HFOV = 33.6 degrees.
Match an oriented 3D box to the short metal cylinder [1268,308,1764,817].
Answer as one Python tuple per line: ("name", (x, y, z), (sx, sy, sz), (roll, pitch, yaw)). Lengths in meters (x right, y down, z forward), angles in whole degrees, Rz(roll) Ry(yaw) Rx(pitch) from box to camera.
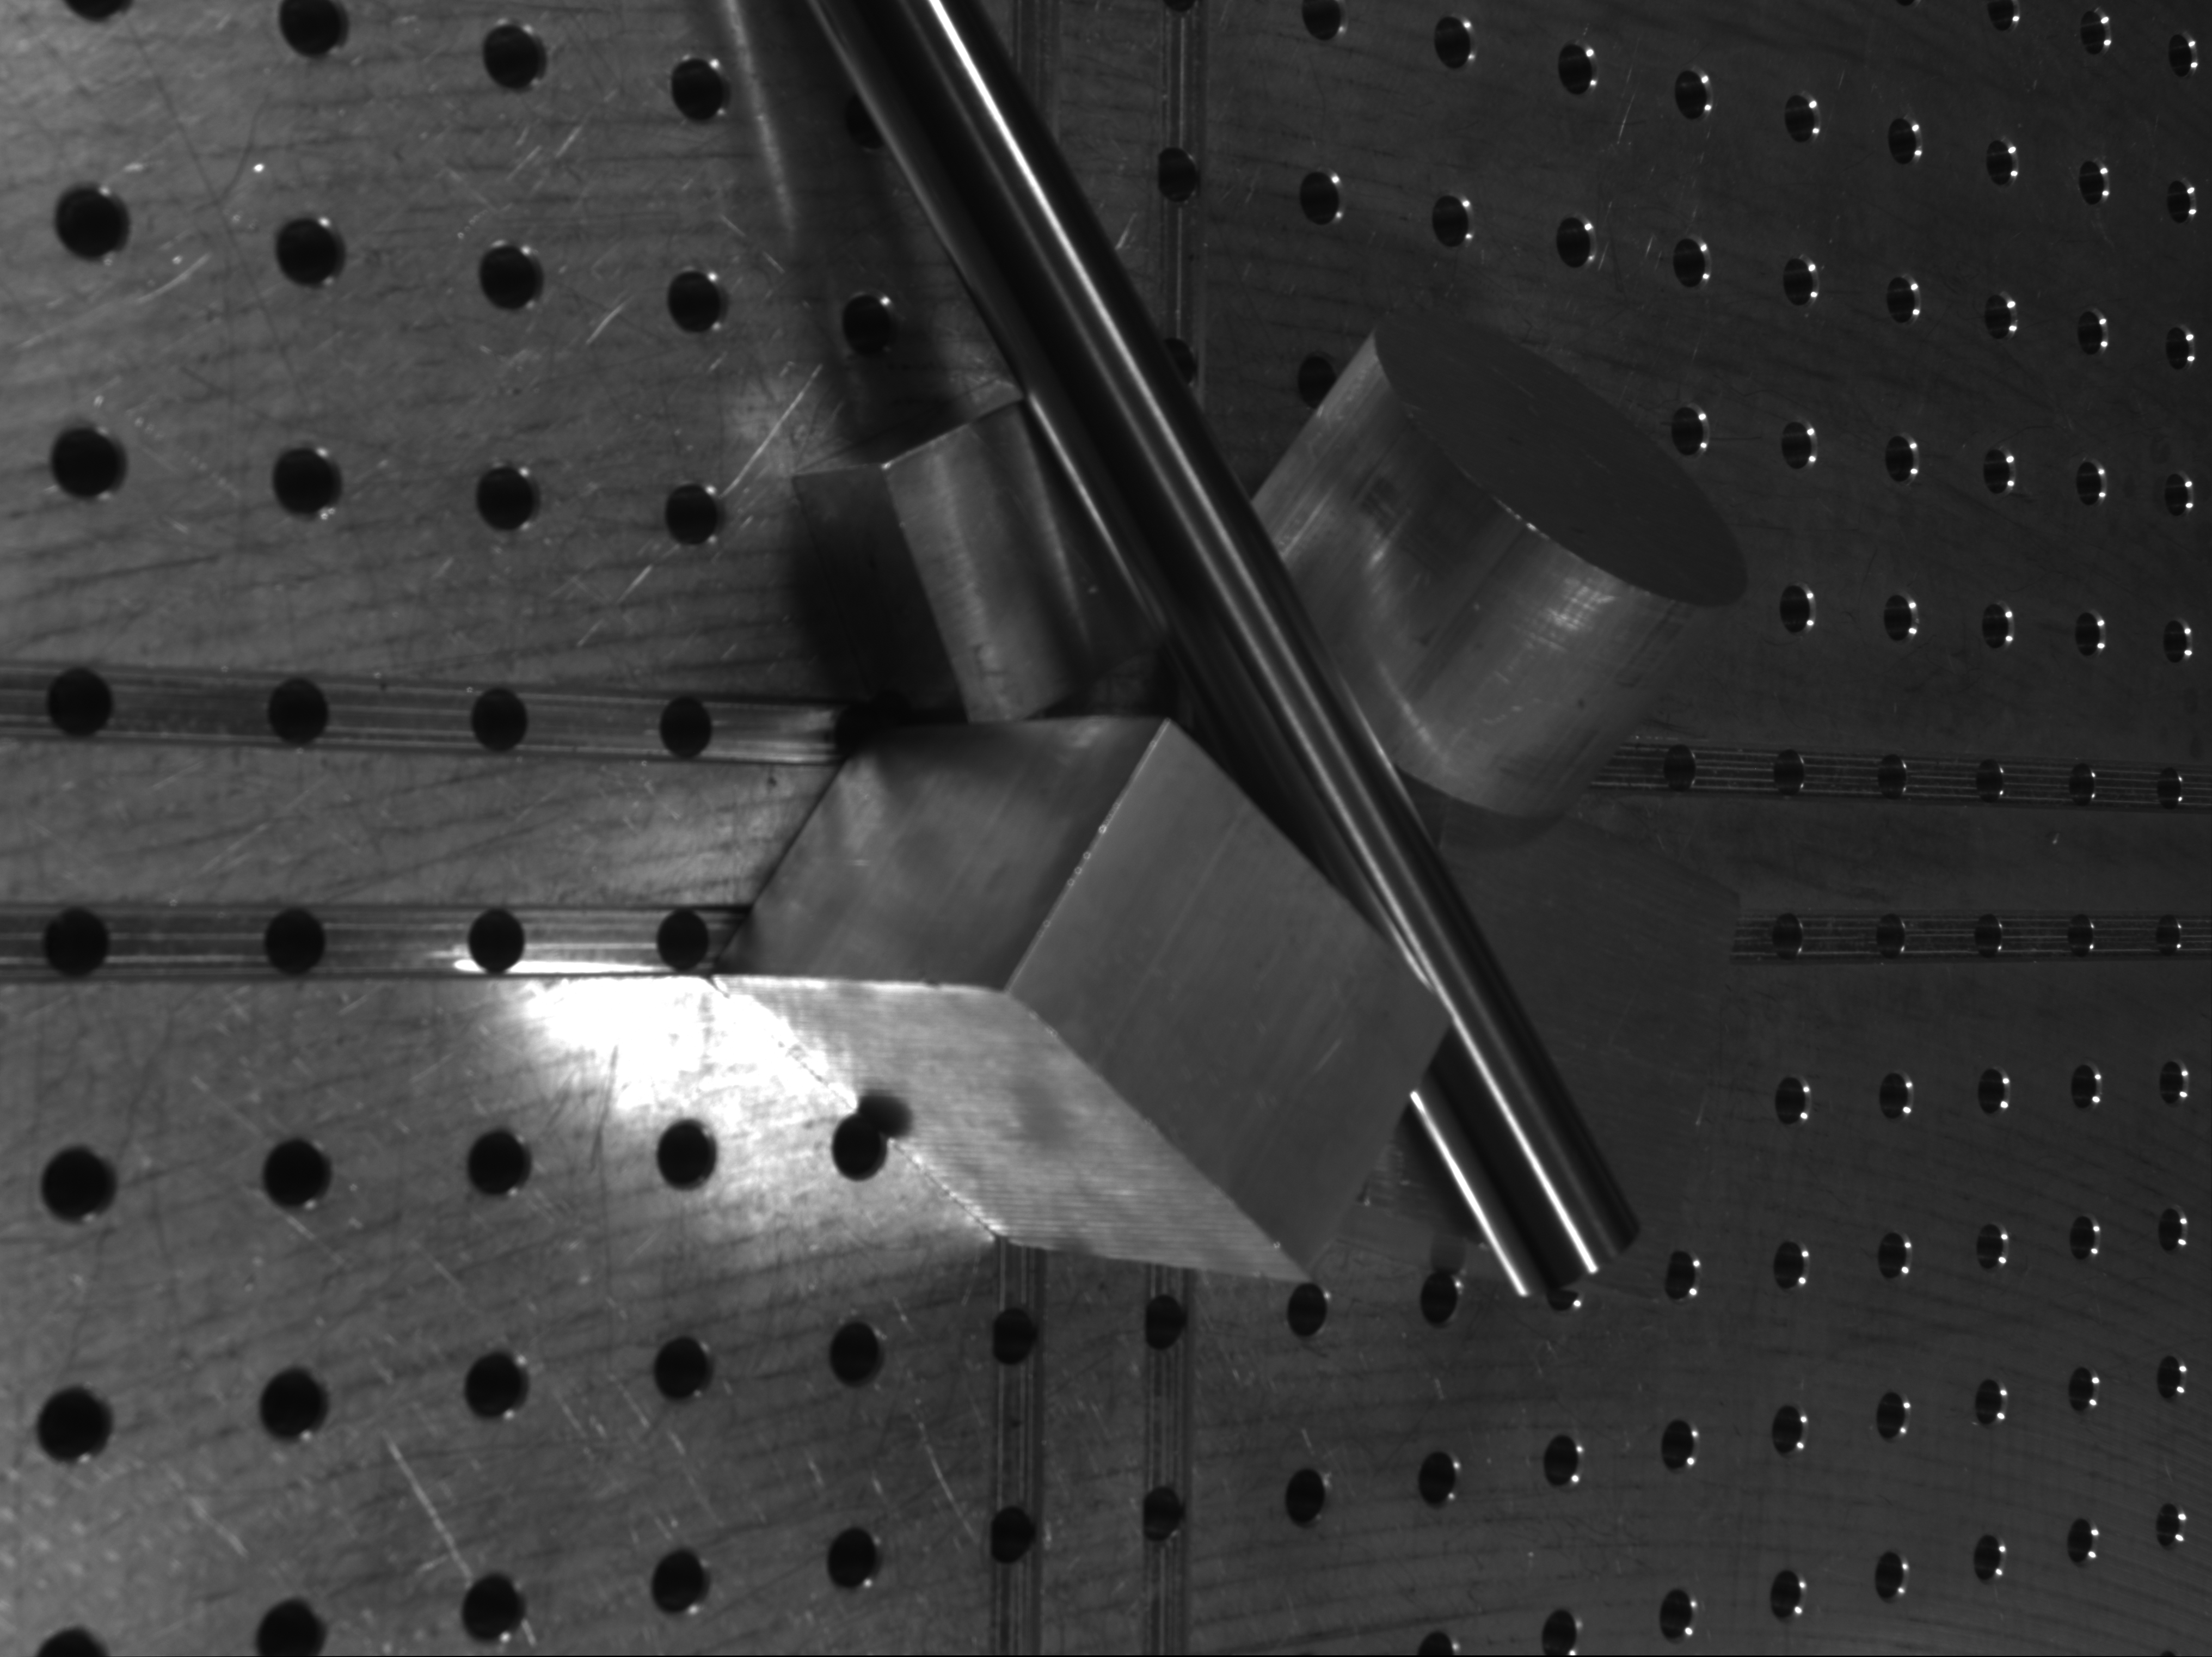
("short metal cylinder", (0.070, -0.048, 0.654), (0.080, 0.080, 0.050), (11, 126, -39))

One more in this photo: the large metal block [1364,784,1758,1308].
("large metal block", (0.069, 0.039, 0.681), (0.080, 0.050, 0.080), (22, 76, -38))

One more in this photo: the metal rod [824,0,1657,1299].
("metal rod", (0.012, -0.056, 0.611), (0.025, 0.025, 0.300), (-34, 100, -35))

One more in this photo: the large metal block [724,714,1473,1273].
("large metal block", (-0.001, 0.027, 0.603), (0.080, 0.080, 0.050), (45, 63, -31))

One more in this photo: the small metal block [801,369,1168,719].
("small metal block", (-0.018, -0.047, 0.626), (0.050, 0.025, 0.050), (-30, 109, -36))
